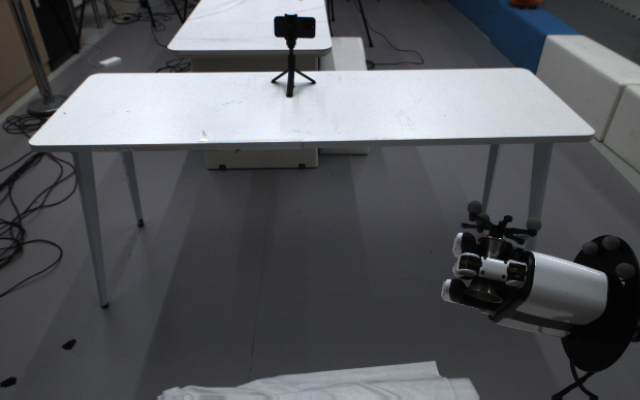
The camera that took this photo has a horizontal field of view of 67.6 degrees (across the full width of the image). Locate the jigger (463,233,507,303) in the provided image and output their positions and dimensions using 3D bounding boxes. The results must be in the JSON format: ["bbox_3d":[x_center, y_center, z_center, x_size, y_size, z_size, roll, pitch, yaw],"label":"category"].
[{"bbox_3d":[0.202,0.081,0.574,0.043,0.043,0.071,13,72,15],"label":"jigger"}]
